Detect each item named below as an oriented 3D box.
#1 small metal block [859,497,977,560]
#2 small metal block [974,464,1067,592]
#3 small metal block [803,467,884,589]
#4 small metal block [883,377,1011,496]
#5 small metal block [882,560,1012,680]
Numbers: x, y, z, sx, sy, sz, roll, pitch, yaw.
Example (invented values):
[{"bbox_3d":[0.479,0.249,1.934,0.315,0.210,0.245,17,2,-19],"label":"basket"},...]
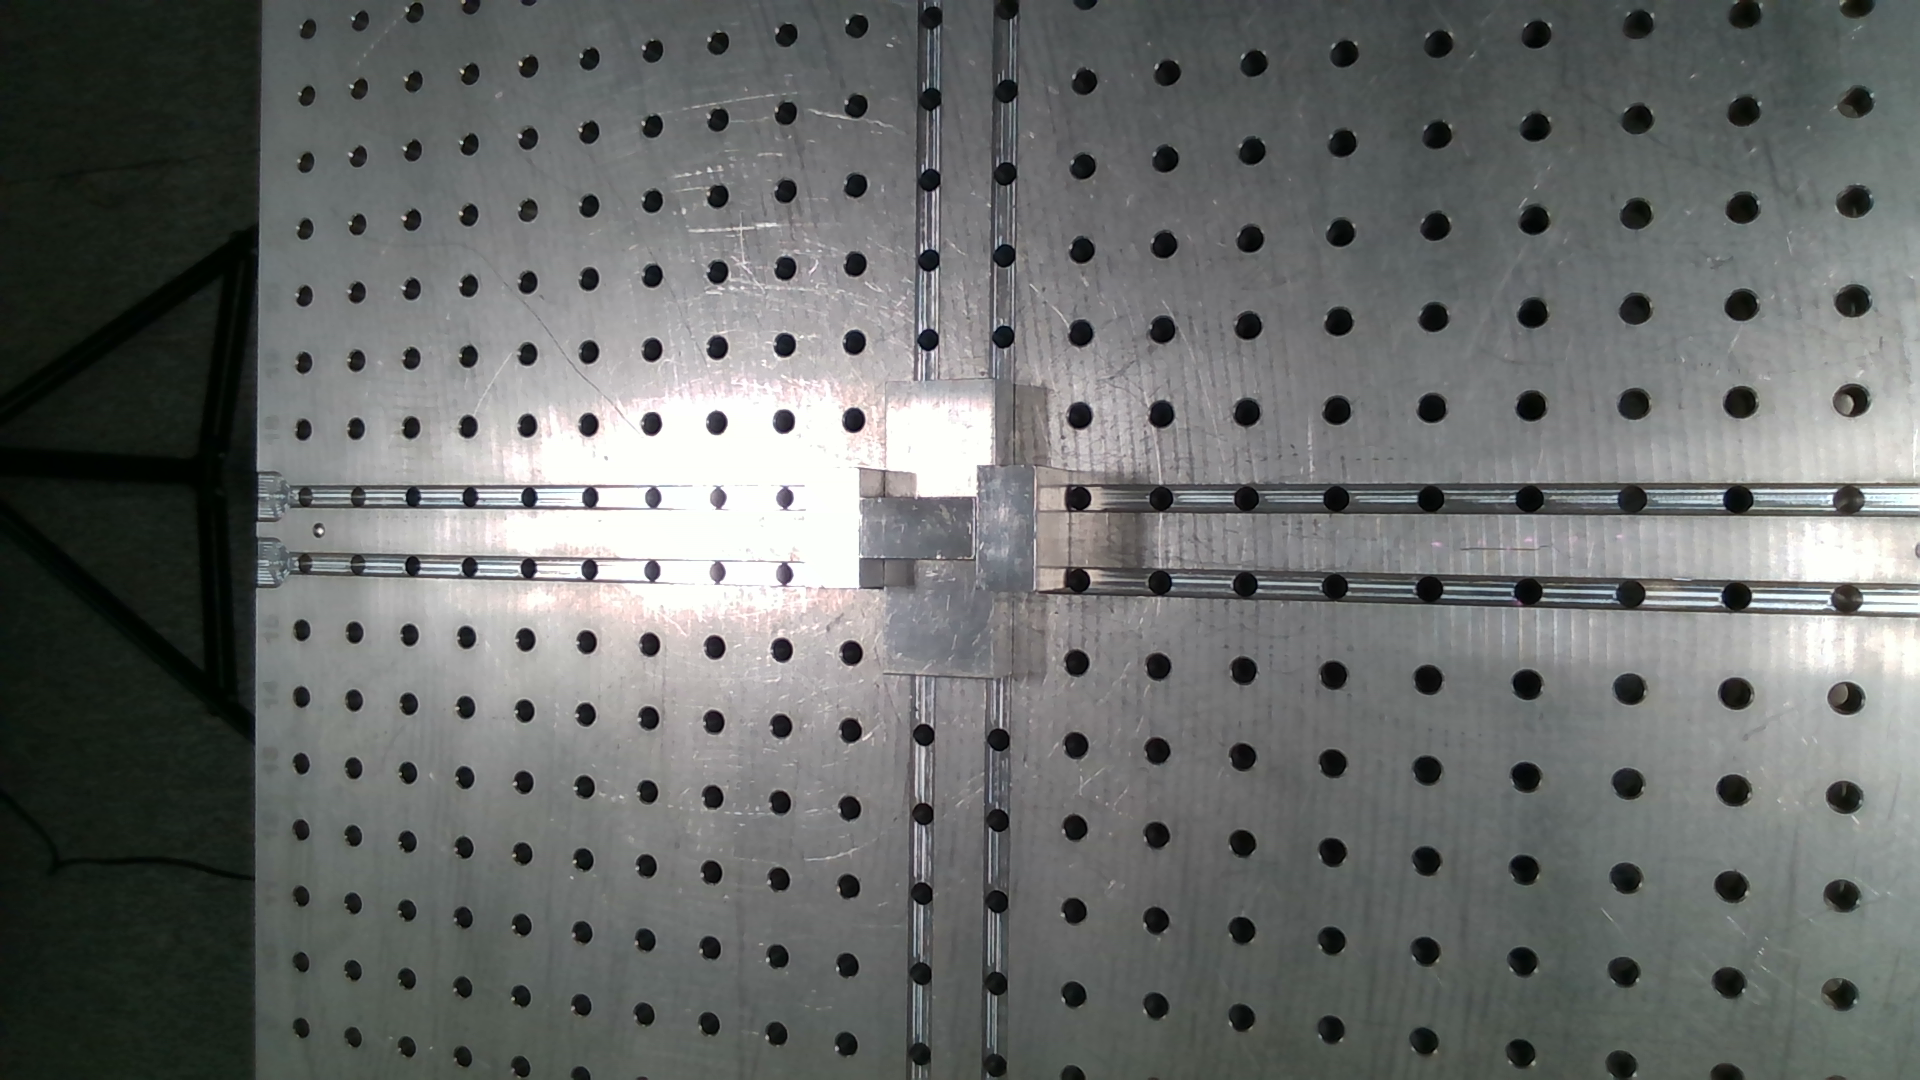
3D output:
[{"bbox_3d":[-0.009,-0.005,0.578,0.050,0.050,0.025,1,90,20],"label":"small metal block"},{"bbox_3d":[0.026,-0.005,0.565,0.025,0.050,0.050,1,91,20],"label":"small metal block"},{"bbox_3d":[-0.045,-0.005,0.591,0.025,0.050,0.050,1,91,20],"label":"small metal block"},{"bbox_3d":[-0.005,-0.043,0.589,0.050,0.025,0.050,0,91,20],"label":"small metal block"},{"bbox_3d":[-0.005,0.033,0.590,0.050,0.025,0.050,1,91,20],"label":"small metal block"}]
